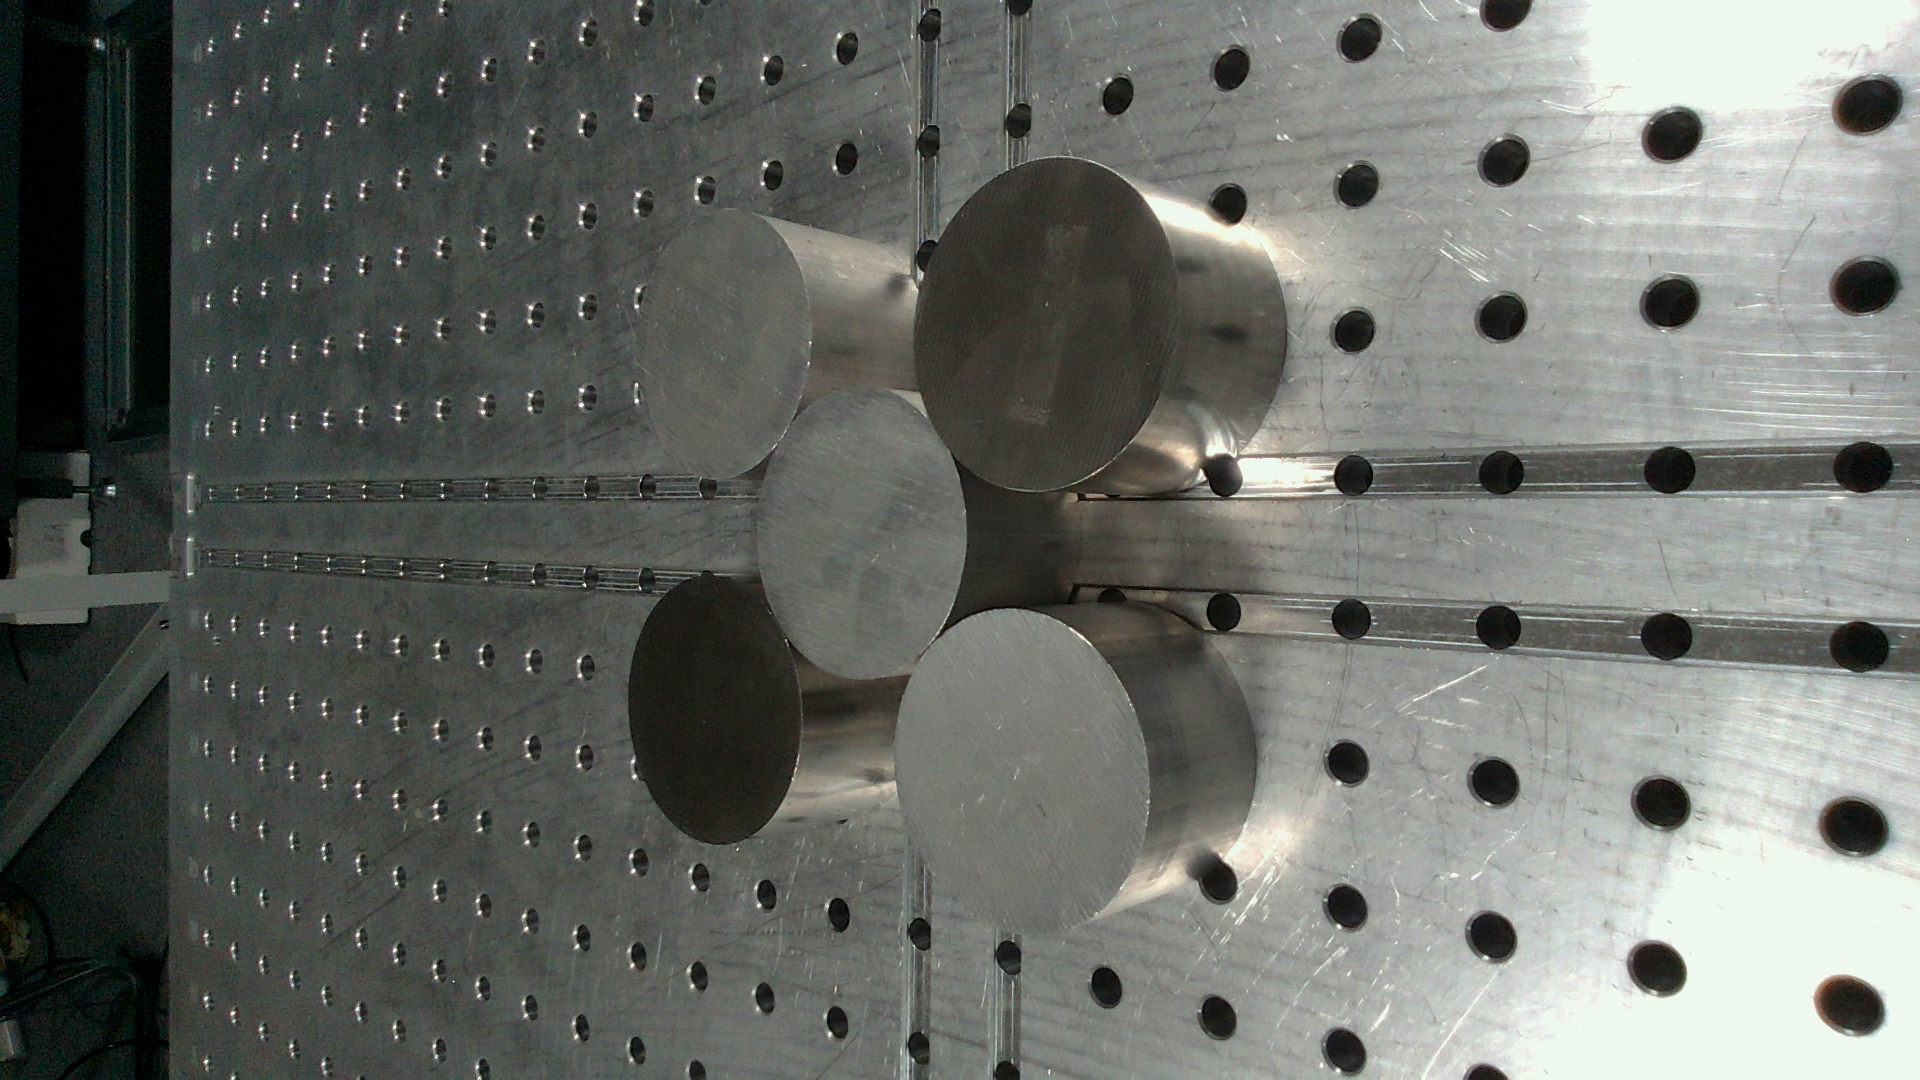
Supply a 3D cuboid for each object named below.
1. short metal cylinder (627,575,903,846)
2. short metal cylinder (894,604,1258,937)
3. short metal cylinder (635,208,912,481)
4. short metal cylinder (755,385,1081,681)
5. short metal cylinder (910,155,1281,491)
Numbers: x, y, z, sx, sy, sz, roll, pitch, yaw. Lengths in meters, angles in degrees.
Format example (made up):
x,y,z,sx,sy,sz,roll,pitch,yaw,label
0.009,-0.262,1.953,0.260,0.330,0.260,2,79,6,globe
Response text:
x,y,z,sx,sy,sz,roll,pitch,yaw,label
-0.059,0.051,0.430,0.080,0.050,0.080,0,90,40,short metal cylinder
0.029,0.057,0.356,0.080,0.050,0.080,0,90,40,short metal cylinder
-0.056,-0.058,0.428,0.080,0.050,0.080,0,90,40,short metal cylinder
-0.013,-0.002,0.391,0.080,0.050,0.080,0,90,40,short metal cylinder
0.034,-0.052,0.350,0.080,0.050,0.080,0,90,40,short metal cylinder
